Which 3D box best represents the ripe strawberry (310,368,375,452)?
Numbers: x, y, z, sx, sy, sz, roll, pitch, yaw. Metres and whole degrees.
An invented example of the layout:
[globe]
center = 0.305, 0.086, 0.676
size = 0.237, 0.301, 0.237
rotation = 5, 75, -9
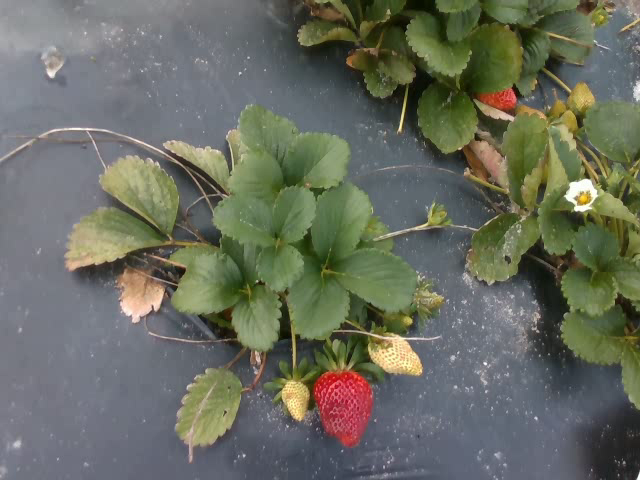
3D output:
[ripe strawberry]
center = 0.017, 0.119, 0.419
size = 0.046, 0.046, 0.059
rotation = -2, 42, -5
